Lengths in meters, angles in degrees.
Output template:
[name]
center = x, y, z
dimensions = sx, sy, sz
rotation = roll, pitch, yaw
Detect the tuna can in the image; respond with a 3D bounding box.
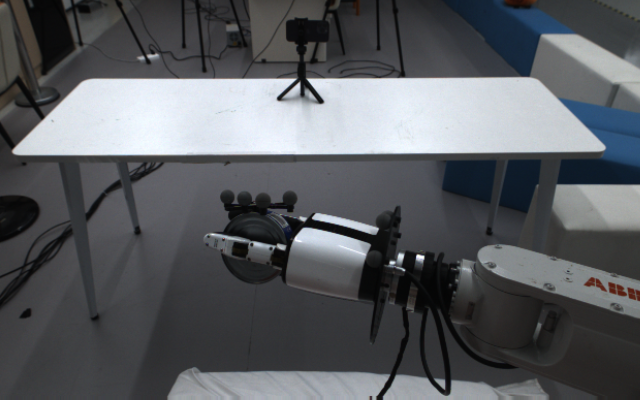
[tuna can]
center = -0.071, 0.056, 0.581
dimensions = 0.085, 0.085, 0.034
rotation = 12, 8, 14
